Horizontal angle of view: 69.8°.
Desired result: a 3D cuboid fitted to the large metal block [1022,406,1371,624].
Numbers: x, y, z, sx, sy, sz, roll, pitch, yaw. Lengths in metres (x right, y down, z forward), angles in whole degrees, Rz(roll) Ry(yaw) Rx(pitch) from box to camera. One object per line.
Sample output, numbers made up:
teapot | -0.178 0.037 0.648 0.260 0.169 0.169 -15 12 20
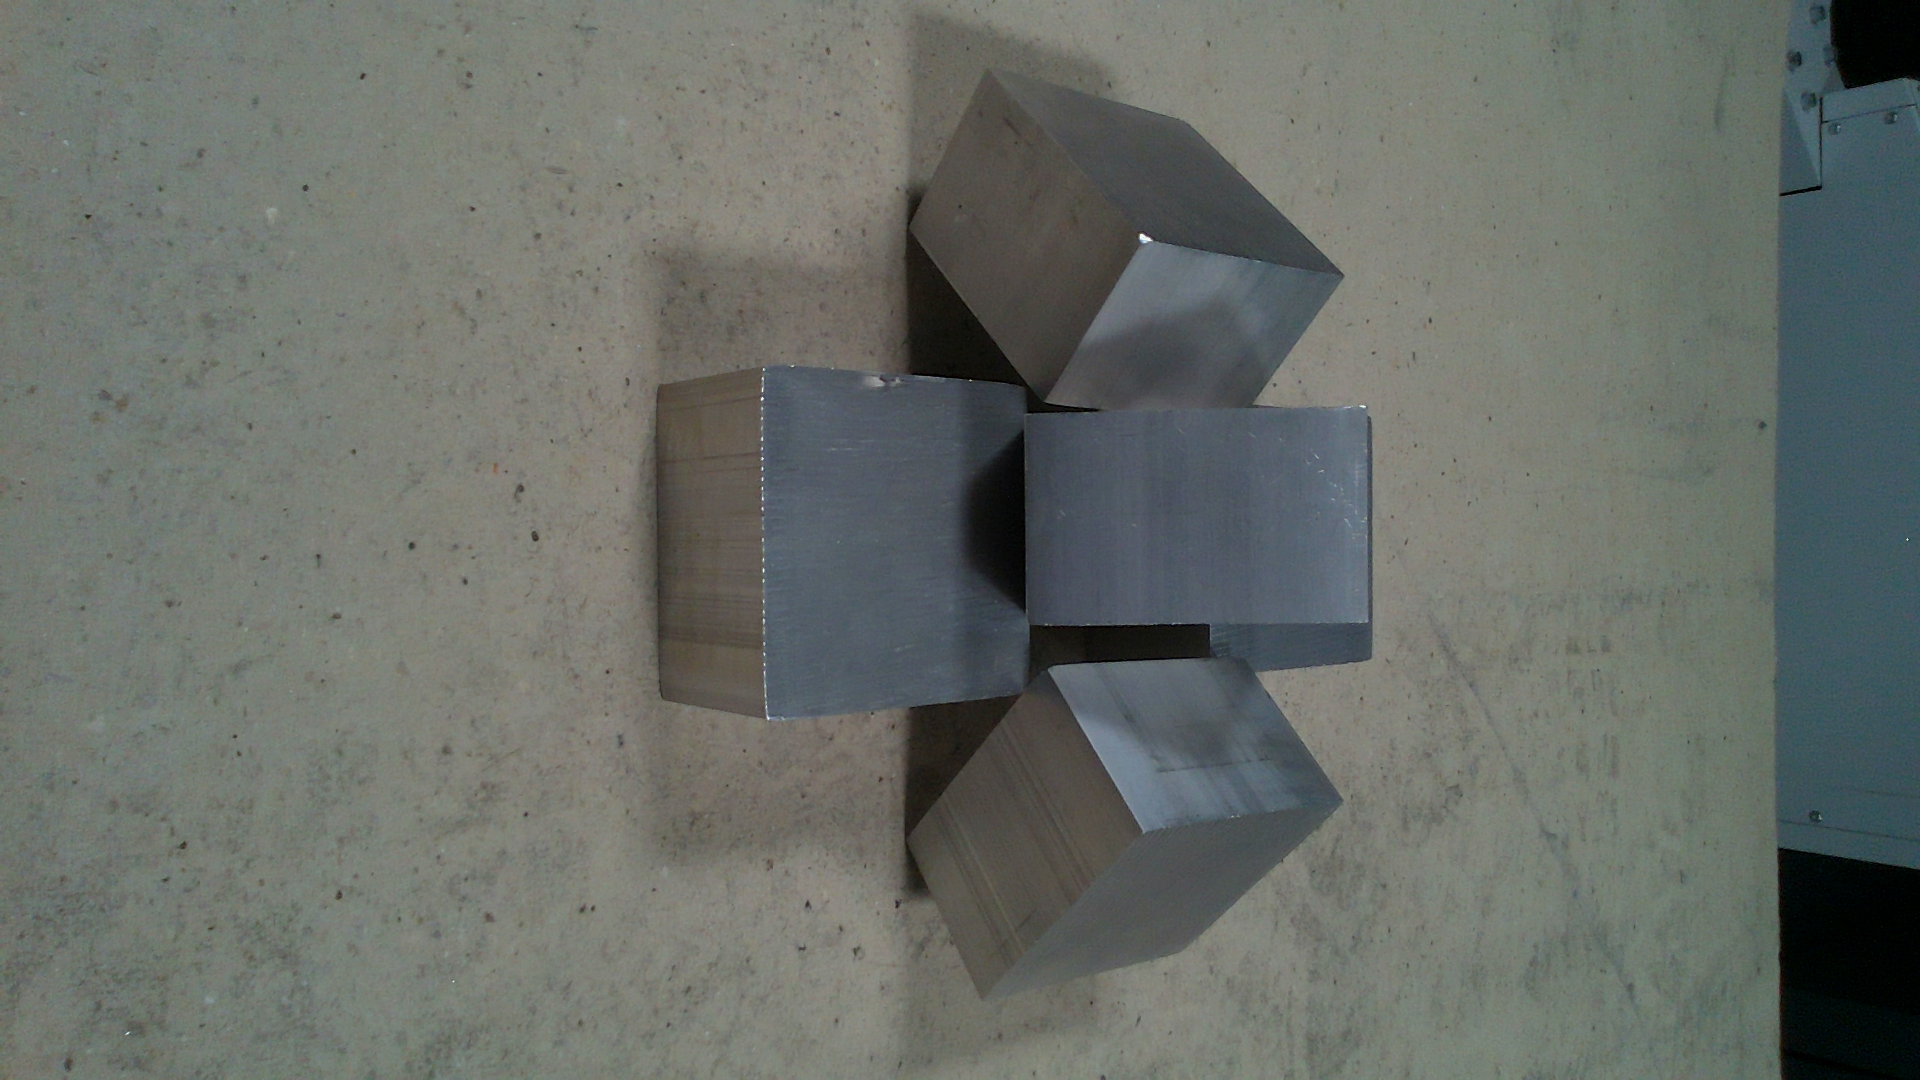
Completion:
large metal block | 0.058 -0.006 0.359 0.080 0.080 0.050 0 90 5

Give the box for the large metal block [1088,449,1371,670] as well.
large metal block | 0.087 -0.001 0.442 0.080 0.050 0.080 0 90 -40

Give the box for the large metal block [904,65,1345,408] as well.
large metal block | 0.044 -0.081 0.383 0.080 0.080 0.050 0 134 -39

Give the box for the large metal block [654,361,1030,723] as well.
large metal block | -0.029 0.000 0.349 0.080 0.050 0.080 -1 90 -40

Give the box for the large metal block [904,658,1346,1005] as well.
large metal block | 0.044 0.079 0.382 0.080 0.080 0.050 2 46 -39
